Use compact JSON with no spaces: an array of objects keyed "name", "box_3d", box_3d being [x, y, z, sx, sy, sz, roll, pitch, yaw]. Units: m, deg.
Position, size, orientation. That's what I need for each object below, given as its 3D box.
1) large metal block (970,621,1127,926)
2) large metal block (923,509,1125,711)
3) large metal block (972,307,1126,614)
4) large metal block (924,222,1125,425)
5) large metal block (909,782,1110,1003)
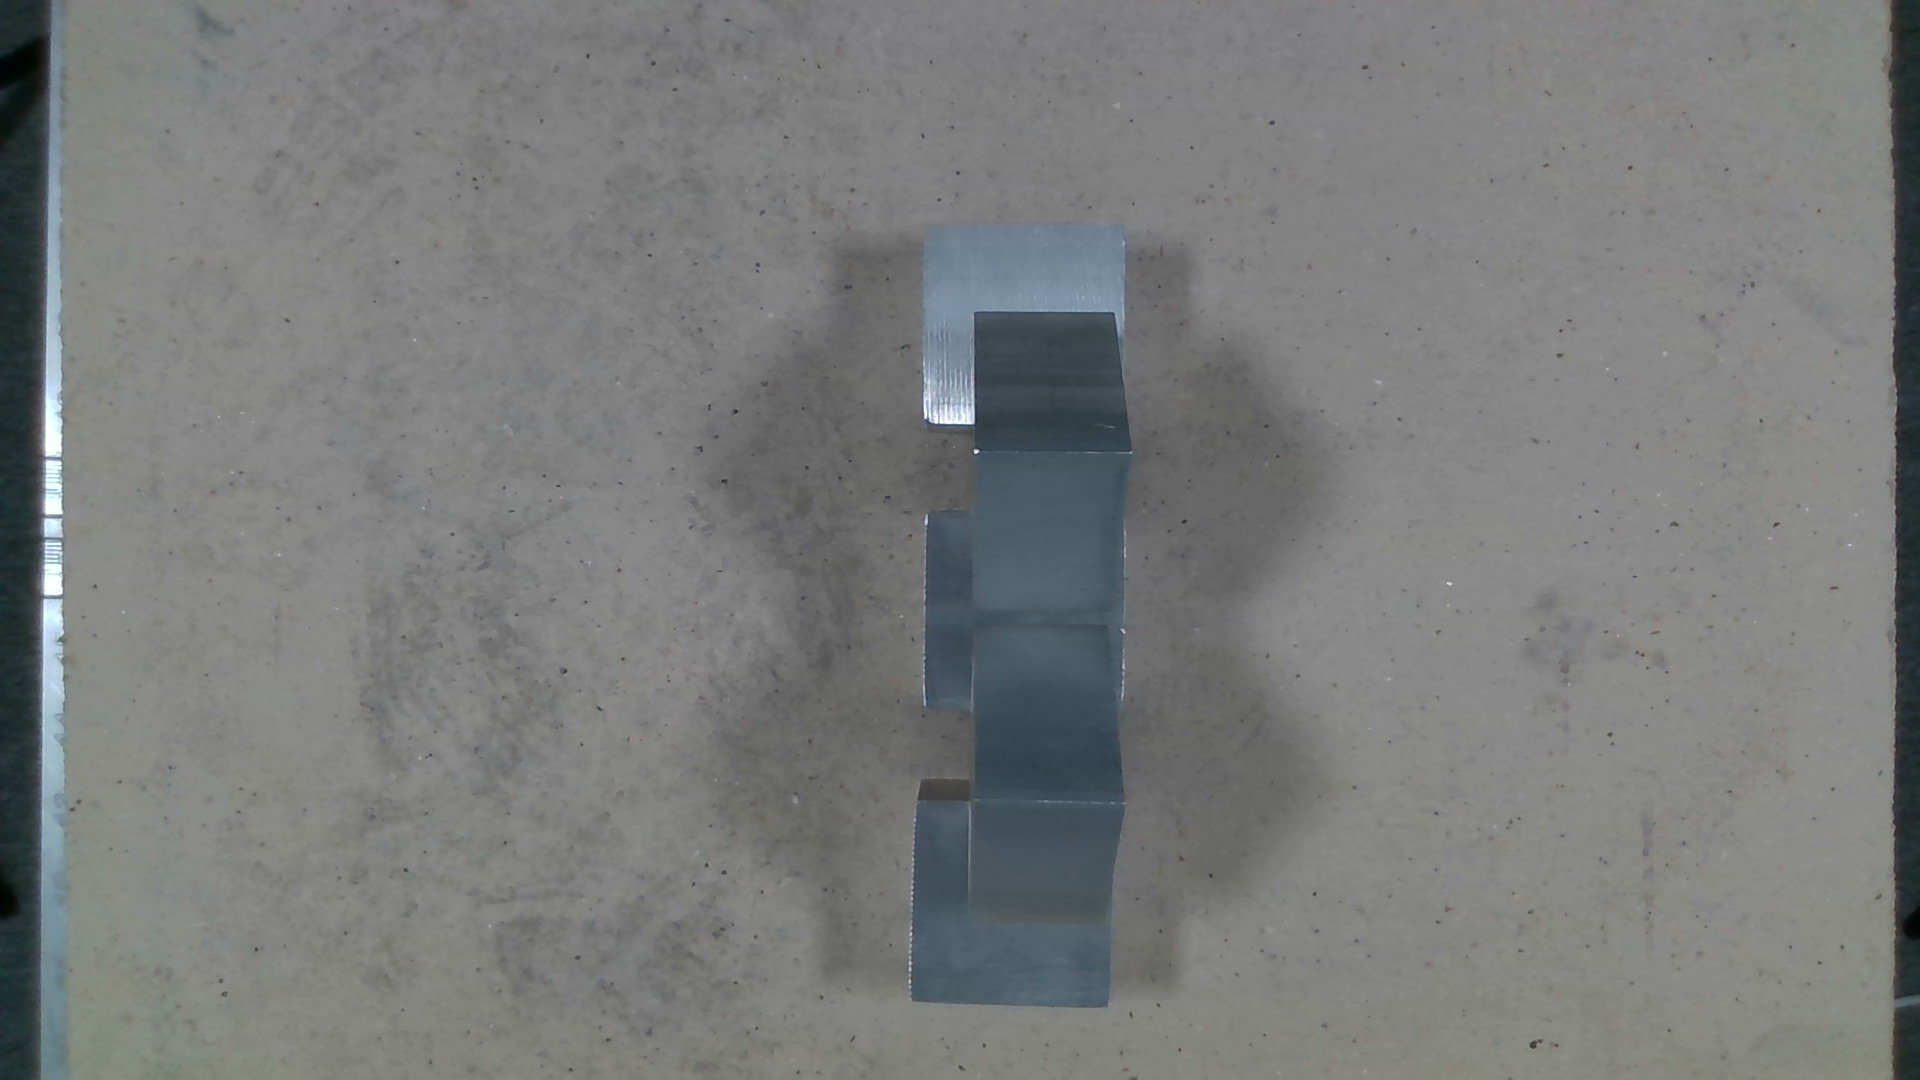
[{"name":"large metal block","box_3d":[0.030,0.087,0.513,0.050,0.080,0.080,1,46,-1]},{"name":"large metal block","box_3d":[0.026,0.028,0.575,0.080,0.050,0.080,1,90,0]},{"name":"large metal block","box_3d":[0.030,-0.029,0.509,0.050,0.080,0.080,-1,135,0]},{"name":"large metal block","box_3d":[0.026,-0.087,0.574,0.080,0.050,0.080,0,90,0]},{"name":"large metal block","box_3d":[0.021,0.145,0.576,0.080,0.050,0.080,1,90,0]}]
